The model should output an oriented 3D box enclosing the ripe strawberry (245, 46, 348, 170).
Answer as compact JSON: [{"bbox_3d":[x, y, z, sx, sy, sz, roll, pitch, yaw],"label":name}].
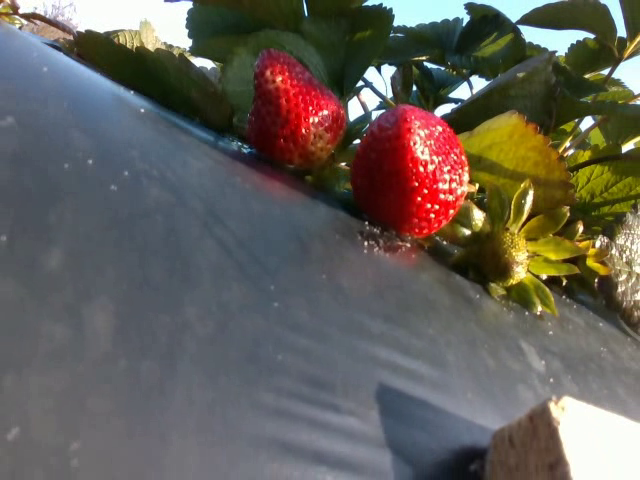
[{"bbox_3d":[-0.010,-0.049,0.235,0.039,0.054,0.048,-26,20,31],"label":"ripe strawberry"}]

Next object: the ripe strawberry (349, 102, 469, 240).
[{"bbox_3d":[0.029,-0.025,0.182,0.038,0.043,0.053,-39,-18,-2],"label":"ripe strawberry"}]
